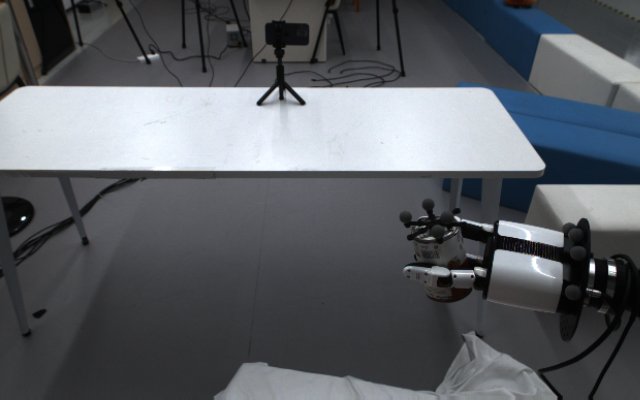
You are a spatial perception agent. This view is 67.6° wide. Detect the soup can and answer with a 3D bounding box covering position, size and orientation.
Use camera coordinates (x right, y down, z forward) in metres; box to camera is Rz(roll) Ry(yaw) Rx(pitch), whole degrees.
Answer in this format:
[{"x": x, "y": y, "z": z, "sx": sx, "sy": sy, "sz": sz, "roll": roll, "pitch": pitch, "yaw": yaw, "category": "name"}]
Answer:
[{"x": 0.171, "y": 0.081, "z": 0.669, "sx": 0.067, "sy": 0.101, "sz": 0.067, "roll": -16, "pitch": 23, "yaw": 7, "category": "soup can"}]
